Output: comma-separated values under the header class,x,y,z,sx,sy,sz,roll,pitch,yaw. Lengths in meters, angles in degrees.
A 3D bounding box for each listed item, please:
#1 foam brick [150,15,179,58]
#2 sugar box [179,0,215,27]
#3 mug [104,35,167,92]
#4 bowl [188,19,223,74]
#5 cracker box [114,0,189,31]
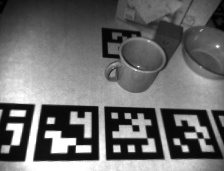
class,x,y,z,sx,sy,sz,roll,pitch,yaw
foam brick,0.116,-0.109,0.497,0.053,0.078,0.051,14,54,0
sugar box,0.211,-0.230,0.533,0.093,0.177,0.045,19,55,3
mug,0.041,-0.040,0.422,0.118,0.082,0.092,-6,49,-13
bowl,0.239,-0.080,0.499,0.162,0.055,0.161,6,56,-8
cracker box,0.105,-0.233,0.491,0.163,0.214,0.072,26,53,7
